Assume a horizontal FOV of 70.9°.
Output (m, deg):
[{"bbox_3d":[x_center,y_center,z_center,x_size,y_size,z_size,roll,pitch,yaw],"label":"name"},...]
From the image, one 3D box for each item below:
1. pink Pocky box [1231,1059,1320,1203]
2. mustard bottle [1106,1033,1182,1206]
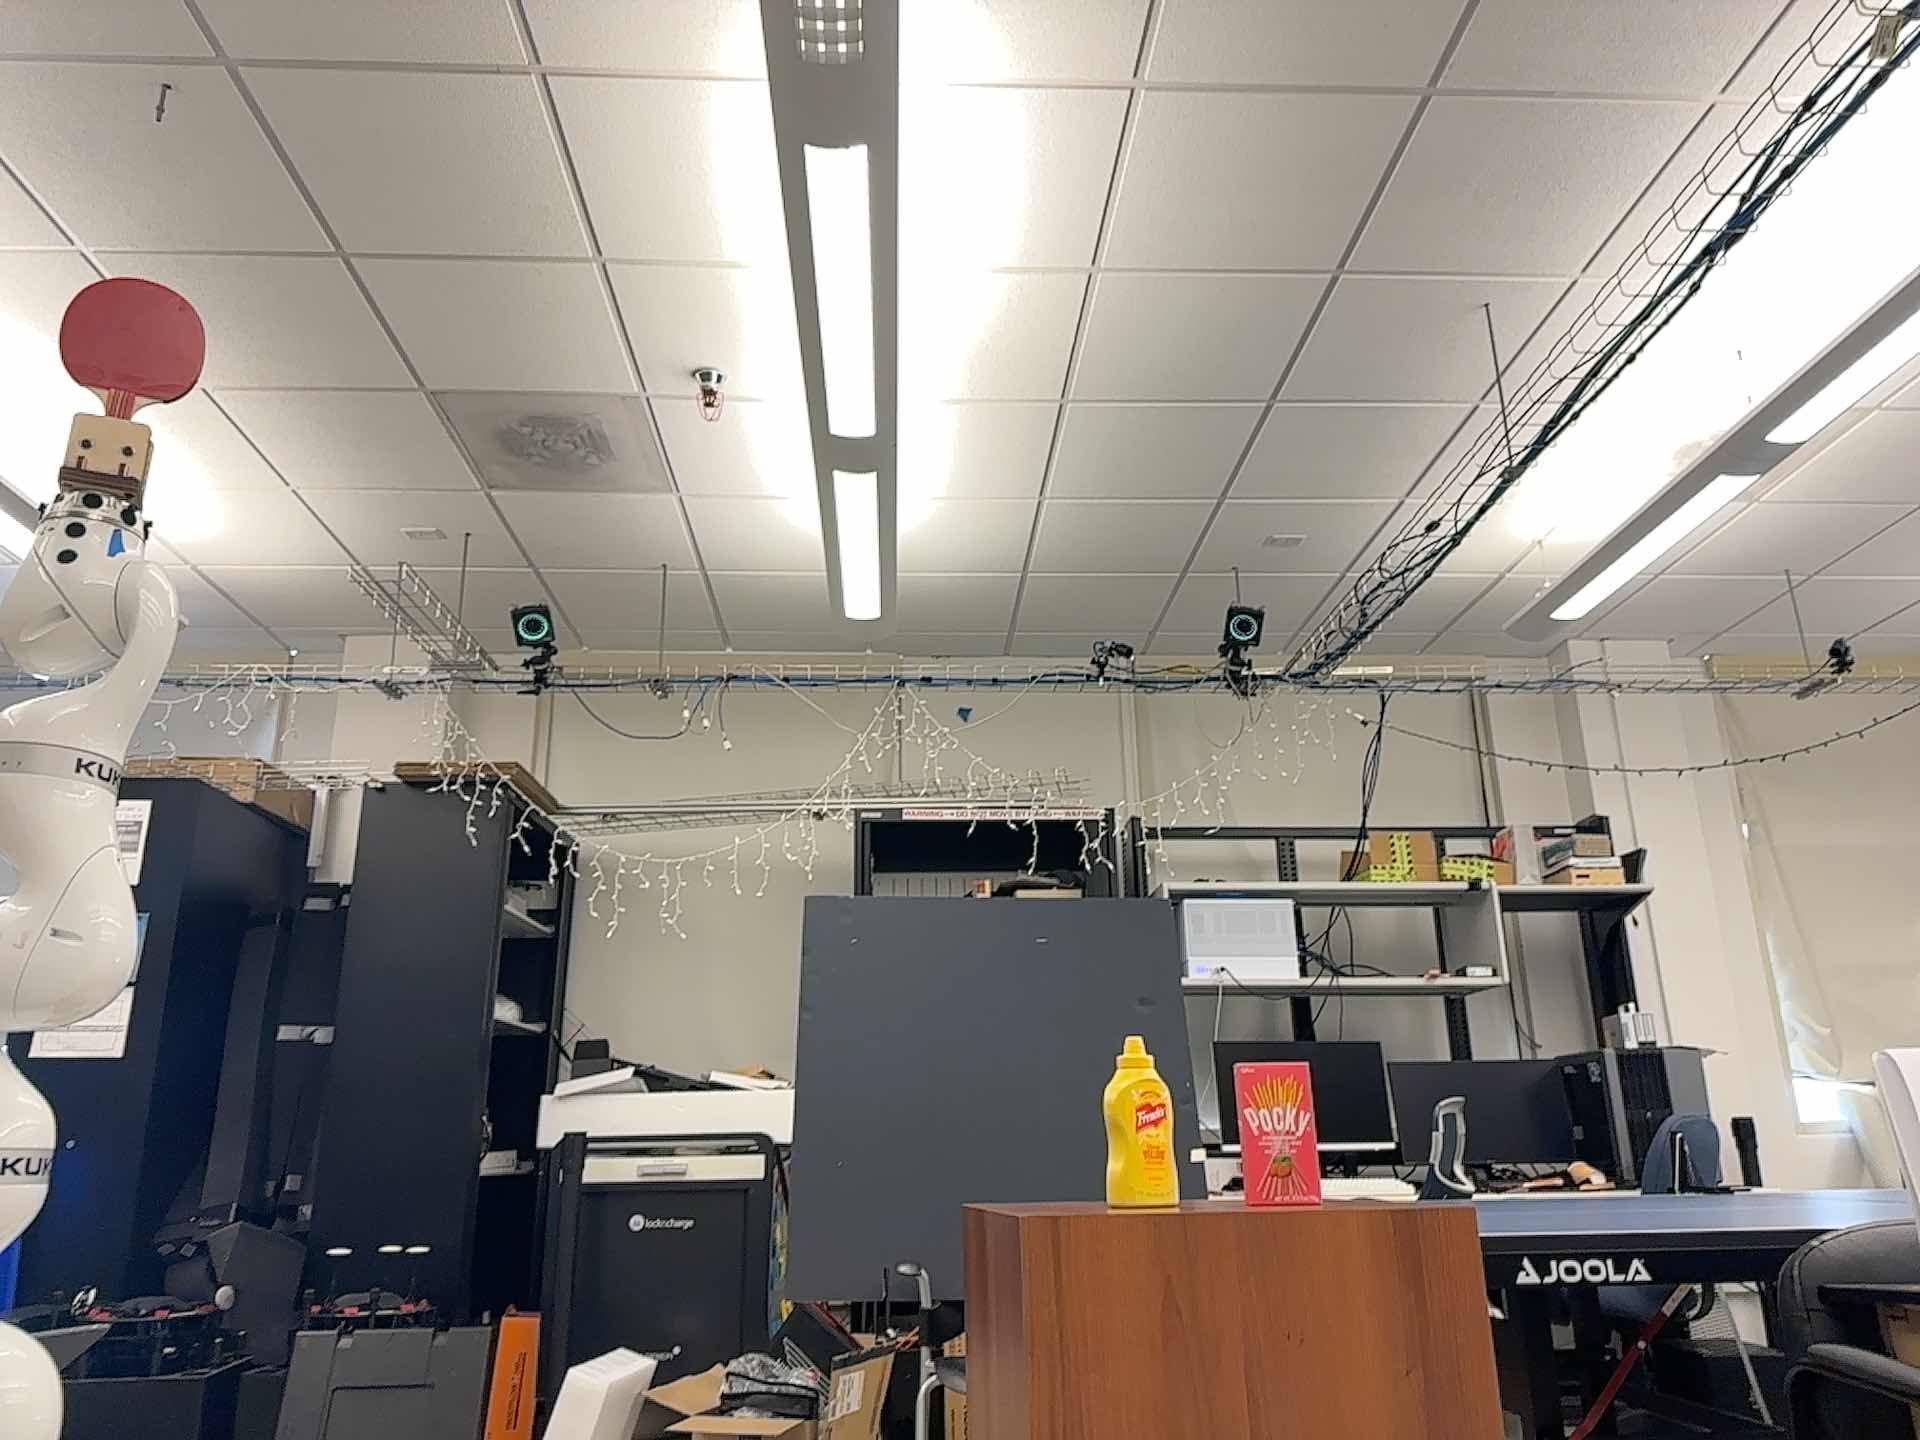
[{"bbox_3d":[0.358,0.467,1.534,0.084,0.154,0.029,-2,-18,4],"label":"pink Pocky box"},{"bbox_3d":[0.203,0.446,1.515,0.092,0.184,0.054,9,-20,-29],"label":"mustard bottle"}]
